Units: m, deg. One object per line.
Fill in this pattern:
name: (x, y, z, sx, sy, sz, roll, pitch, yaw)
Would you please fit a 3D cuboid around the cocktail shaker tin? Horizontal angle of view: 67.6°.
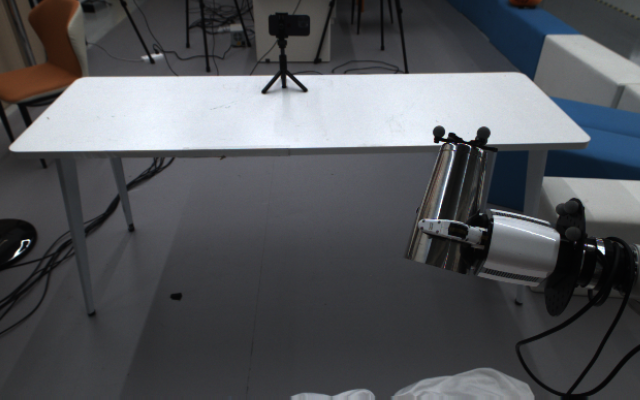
cocktail shaker tin: (0.182, 0.011, 0.681, 0.093, 0.170, 0.093, 15, -4, 1)
